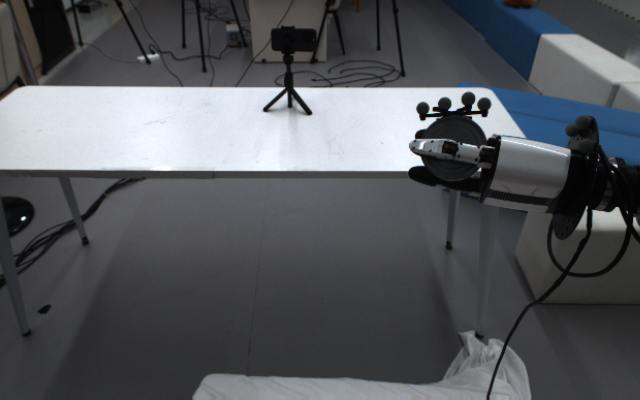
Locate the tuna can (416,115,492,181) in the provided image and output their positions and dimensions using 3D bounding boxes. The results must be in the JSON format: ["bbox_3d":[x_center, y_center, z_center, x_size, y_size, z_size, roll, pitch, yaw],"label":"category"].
[{"bbox_3d":[0.179,-0.070,0.652,0.085,0.085,0.034,15,2,18],"label":"tuna can"}]
